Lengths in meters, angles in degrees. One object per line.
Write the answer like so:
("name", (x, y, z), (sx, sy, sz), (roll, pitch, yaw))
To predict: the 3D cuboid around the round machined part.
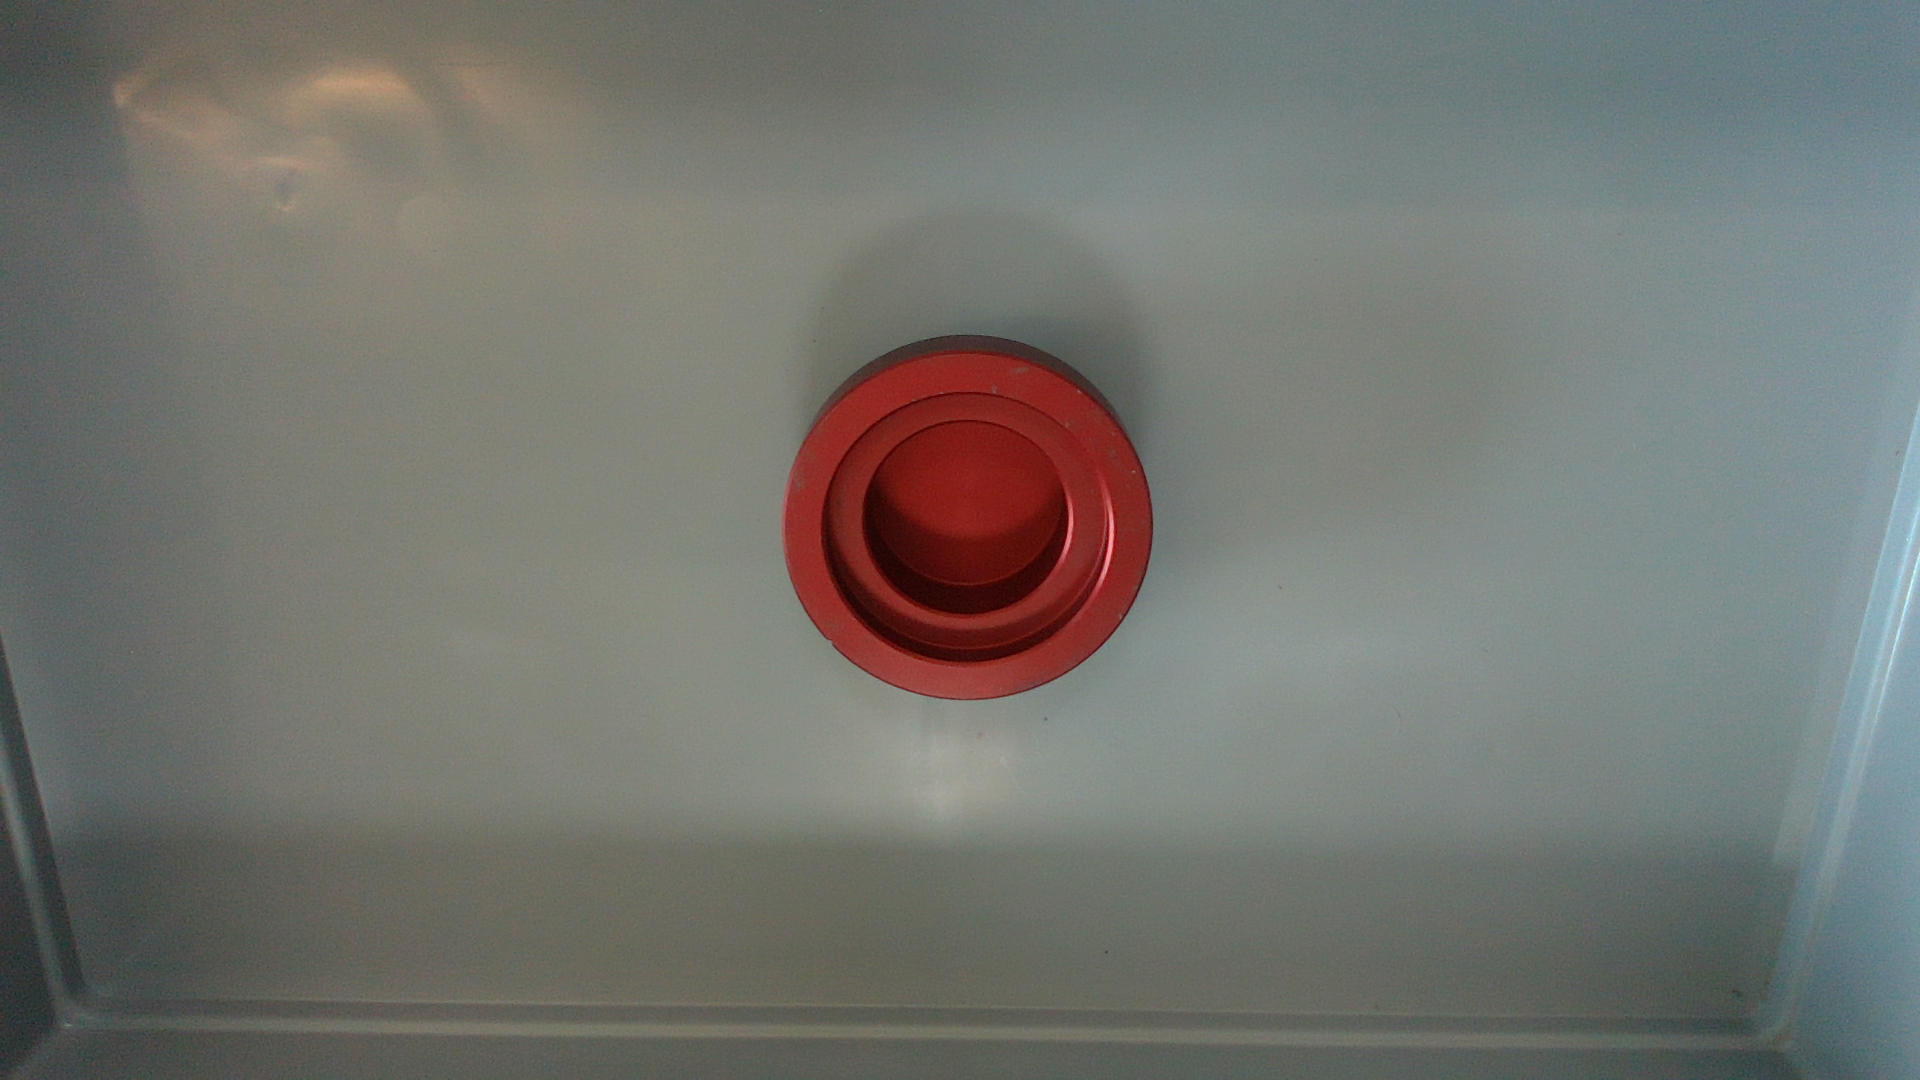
("round machined part", (0.002, -0.009, 0.379), (0.098, 0.042, 0.098), (0, 110, 0))
